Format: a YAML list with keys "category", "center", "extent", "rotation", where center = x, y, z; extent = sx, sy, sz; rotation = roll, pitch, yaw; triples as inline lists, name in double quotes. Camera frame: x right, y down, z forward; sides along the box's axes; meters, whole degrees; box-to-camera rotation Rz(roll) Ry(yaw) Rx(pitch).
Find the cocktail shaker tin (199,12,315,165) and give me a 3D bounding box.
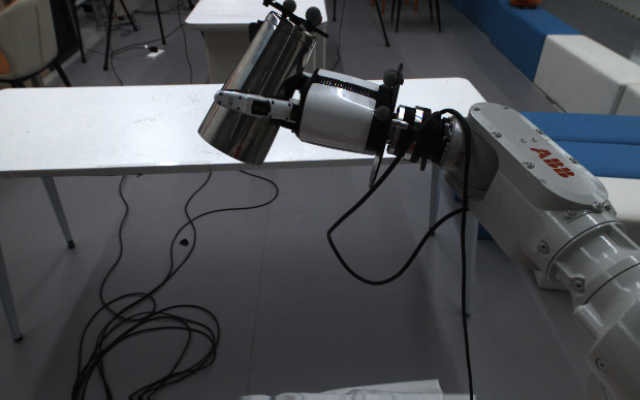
- category: "cocktail shaker tin"
  center: [-0.072, -0.143, 0.603]
  extent: [0.093, 0.170, 0.093]
  rotation: [28, 14, -7]
